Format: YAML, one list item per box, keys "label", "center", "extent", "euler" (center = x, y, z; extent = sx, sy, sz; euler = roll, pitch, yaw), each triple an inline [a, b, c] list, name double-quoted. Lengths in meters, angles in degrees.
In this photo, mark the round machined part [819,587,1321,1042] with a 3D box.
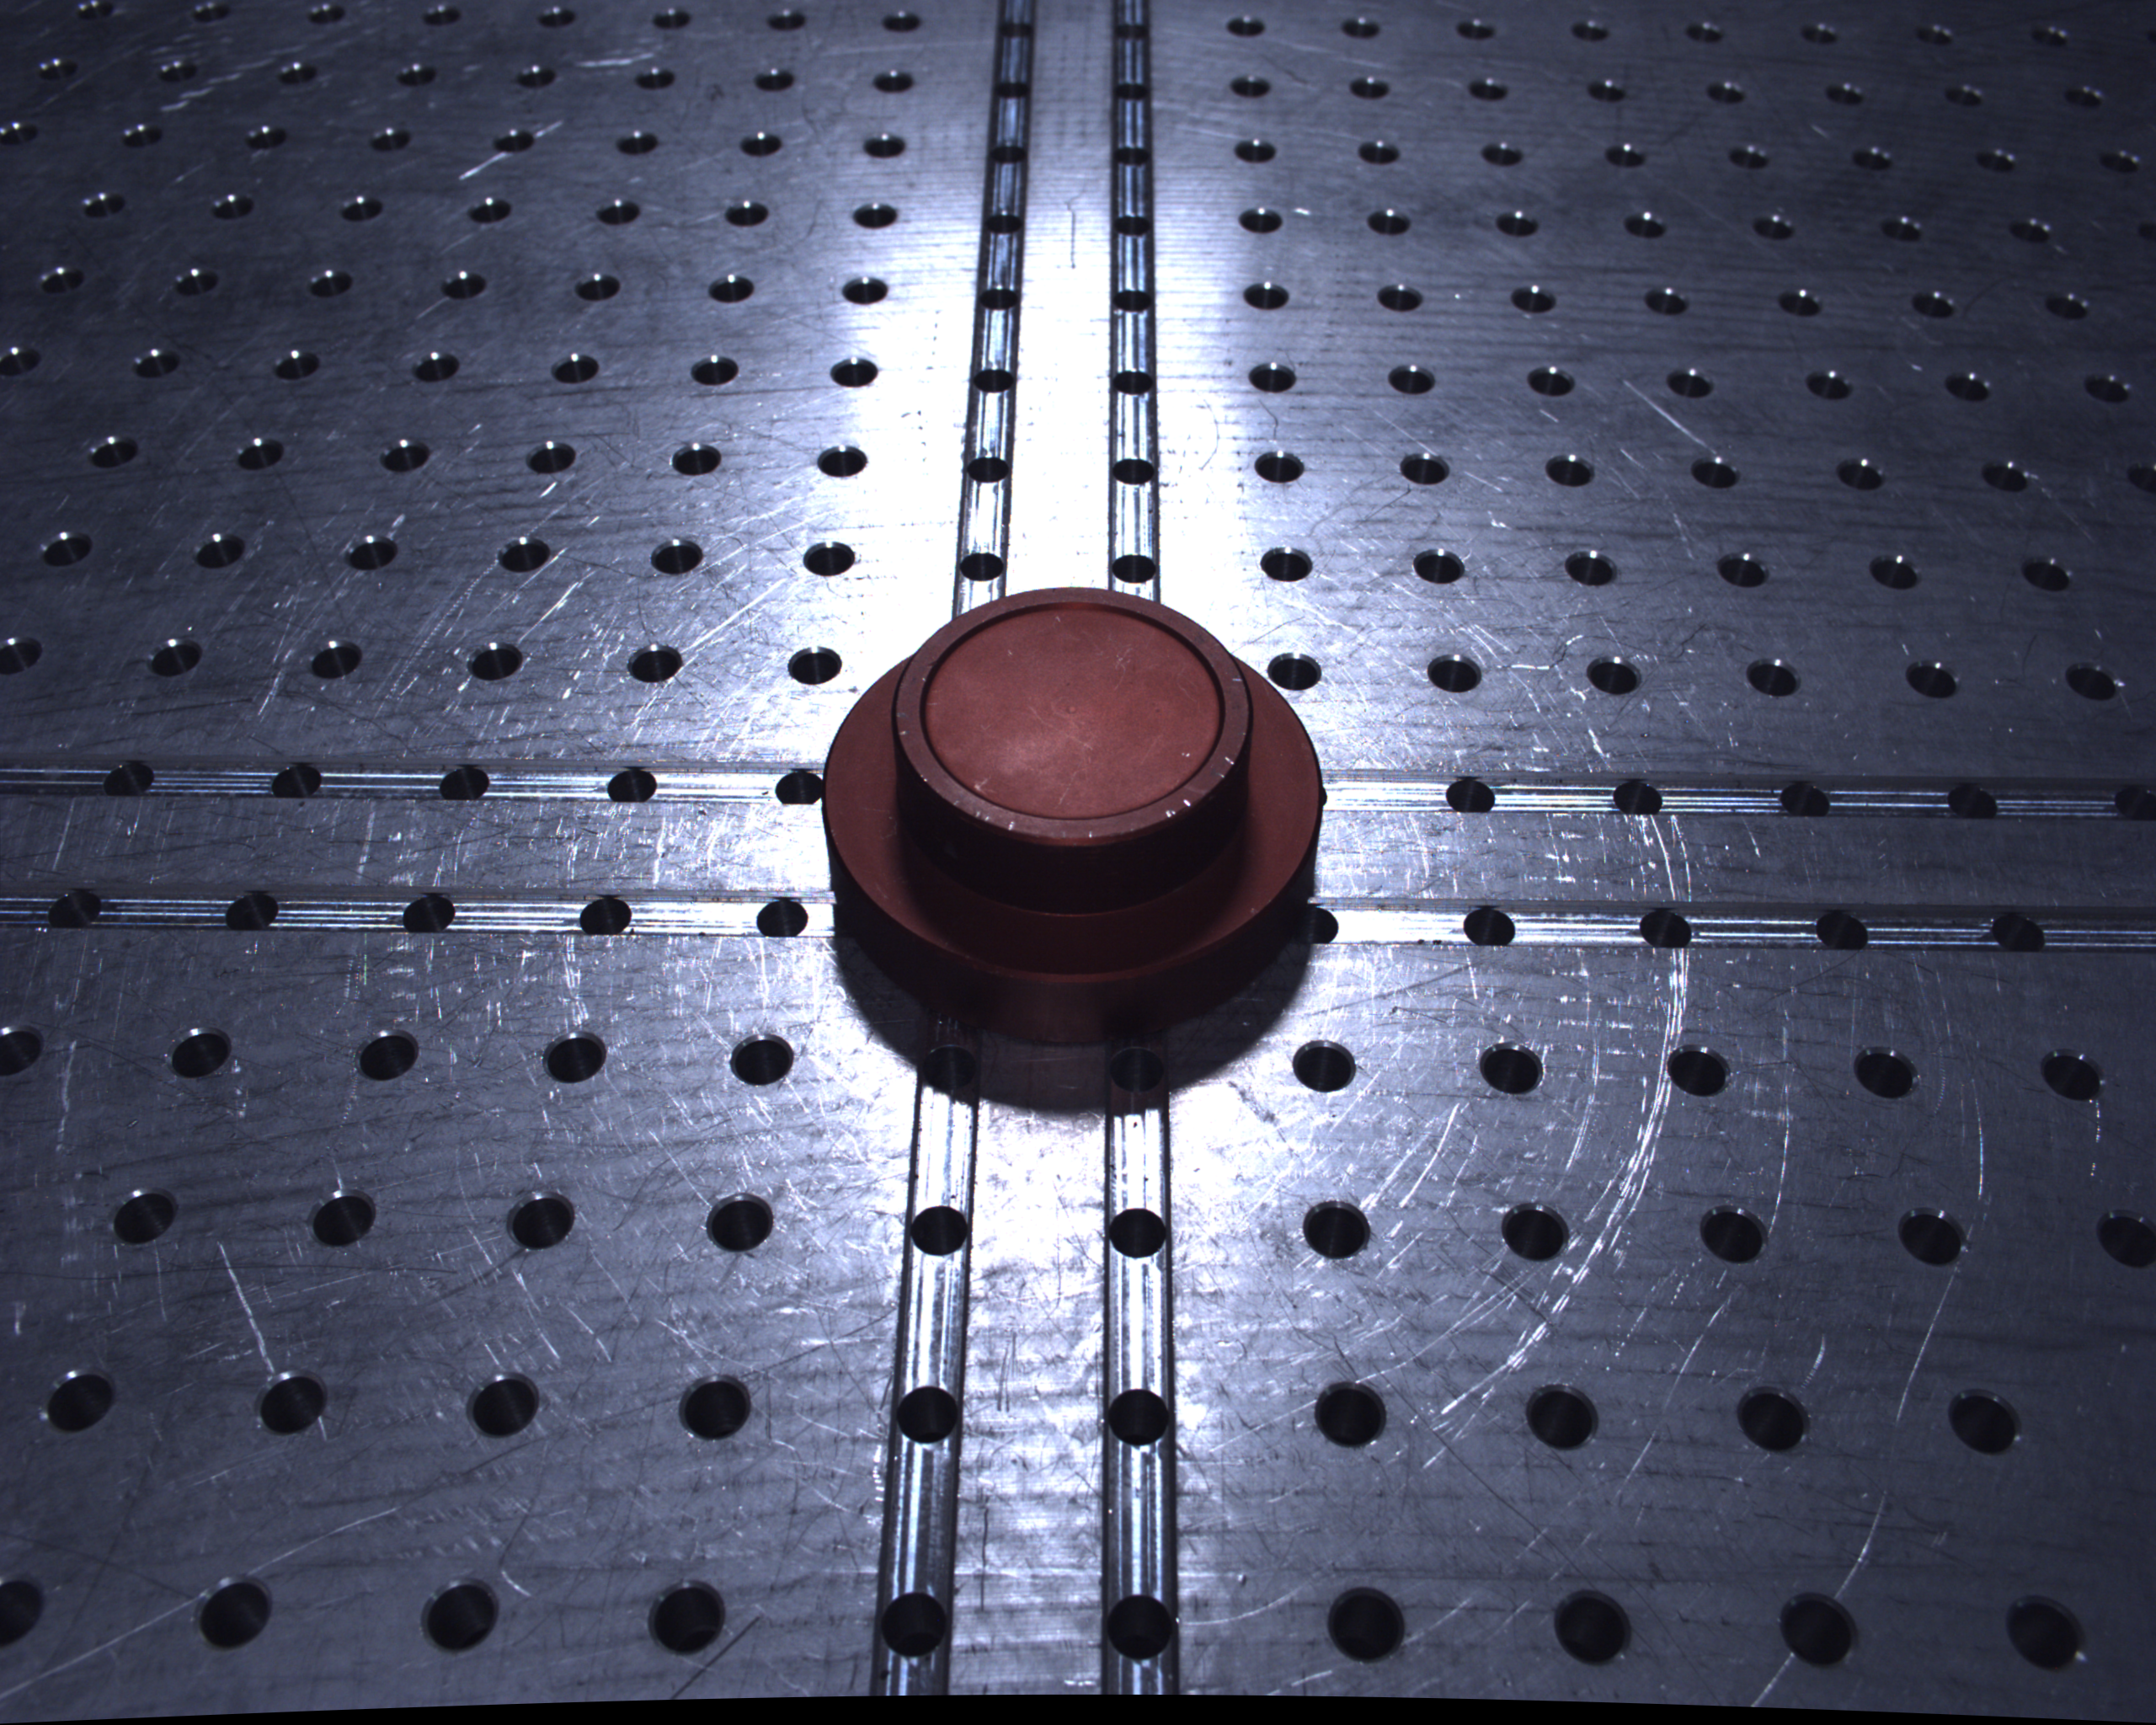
- label: "round machined part"
  center: [-0.001, -0.016, 0.410]
  extent: [0.099, 0.042, 0.098]
  euler: [0, 50, 0]
